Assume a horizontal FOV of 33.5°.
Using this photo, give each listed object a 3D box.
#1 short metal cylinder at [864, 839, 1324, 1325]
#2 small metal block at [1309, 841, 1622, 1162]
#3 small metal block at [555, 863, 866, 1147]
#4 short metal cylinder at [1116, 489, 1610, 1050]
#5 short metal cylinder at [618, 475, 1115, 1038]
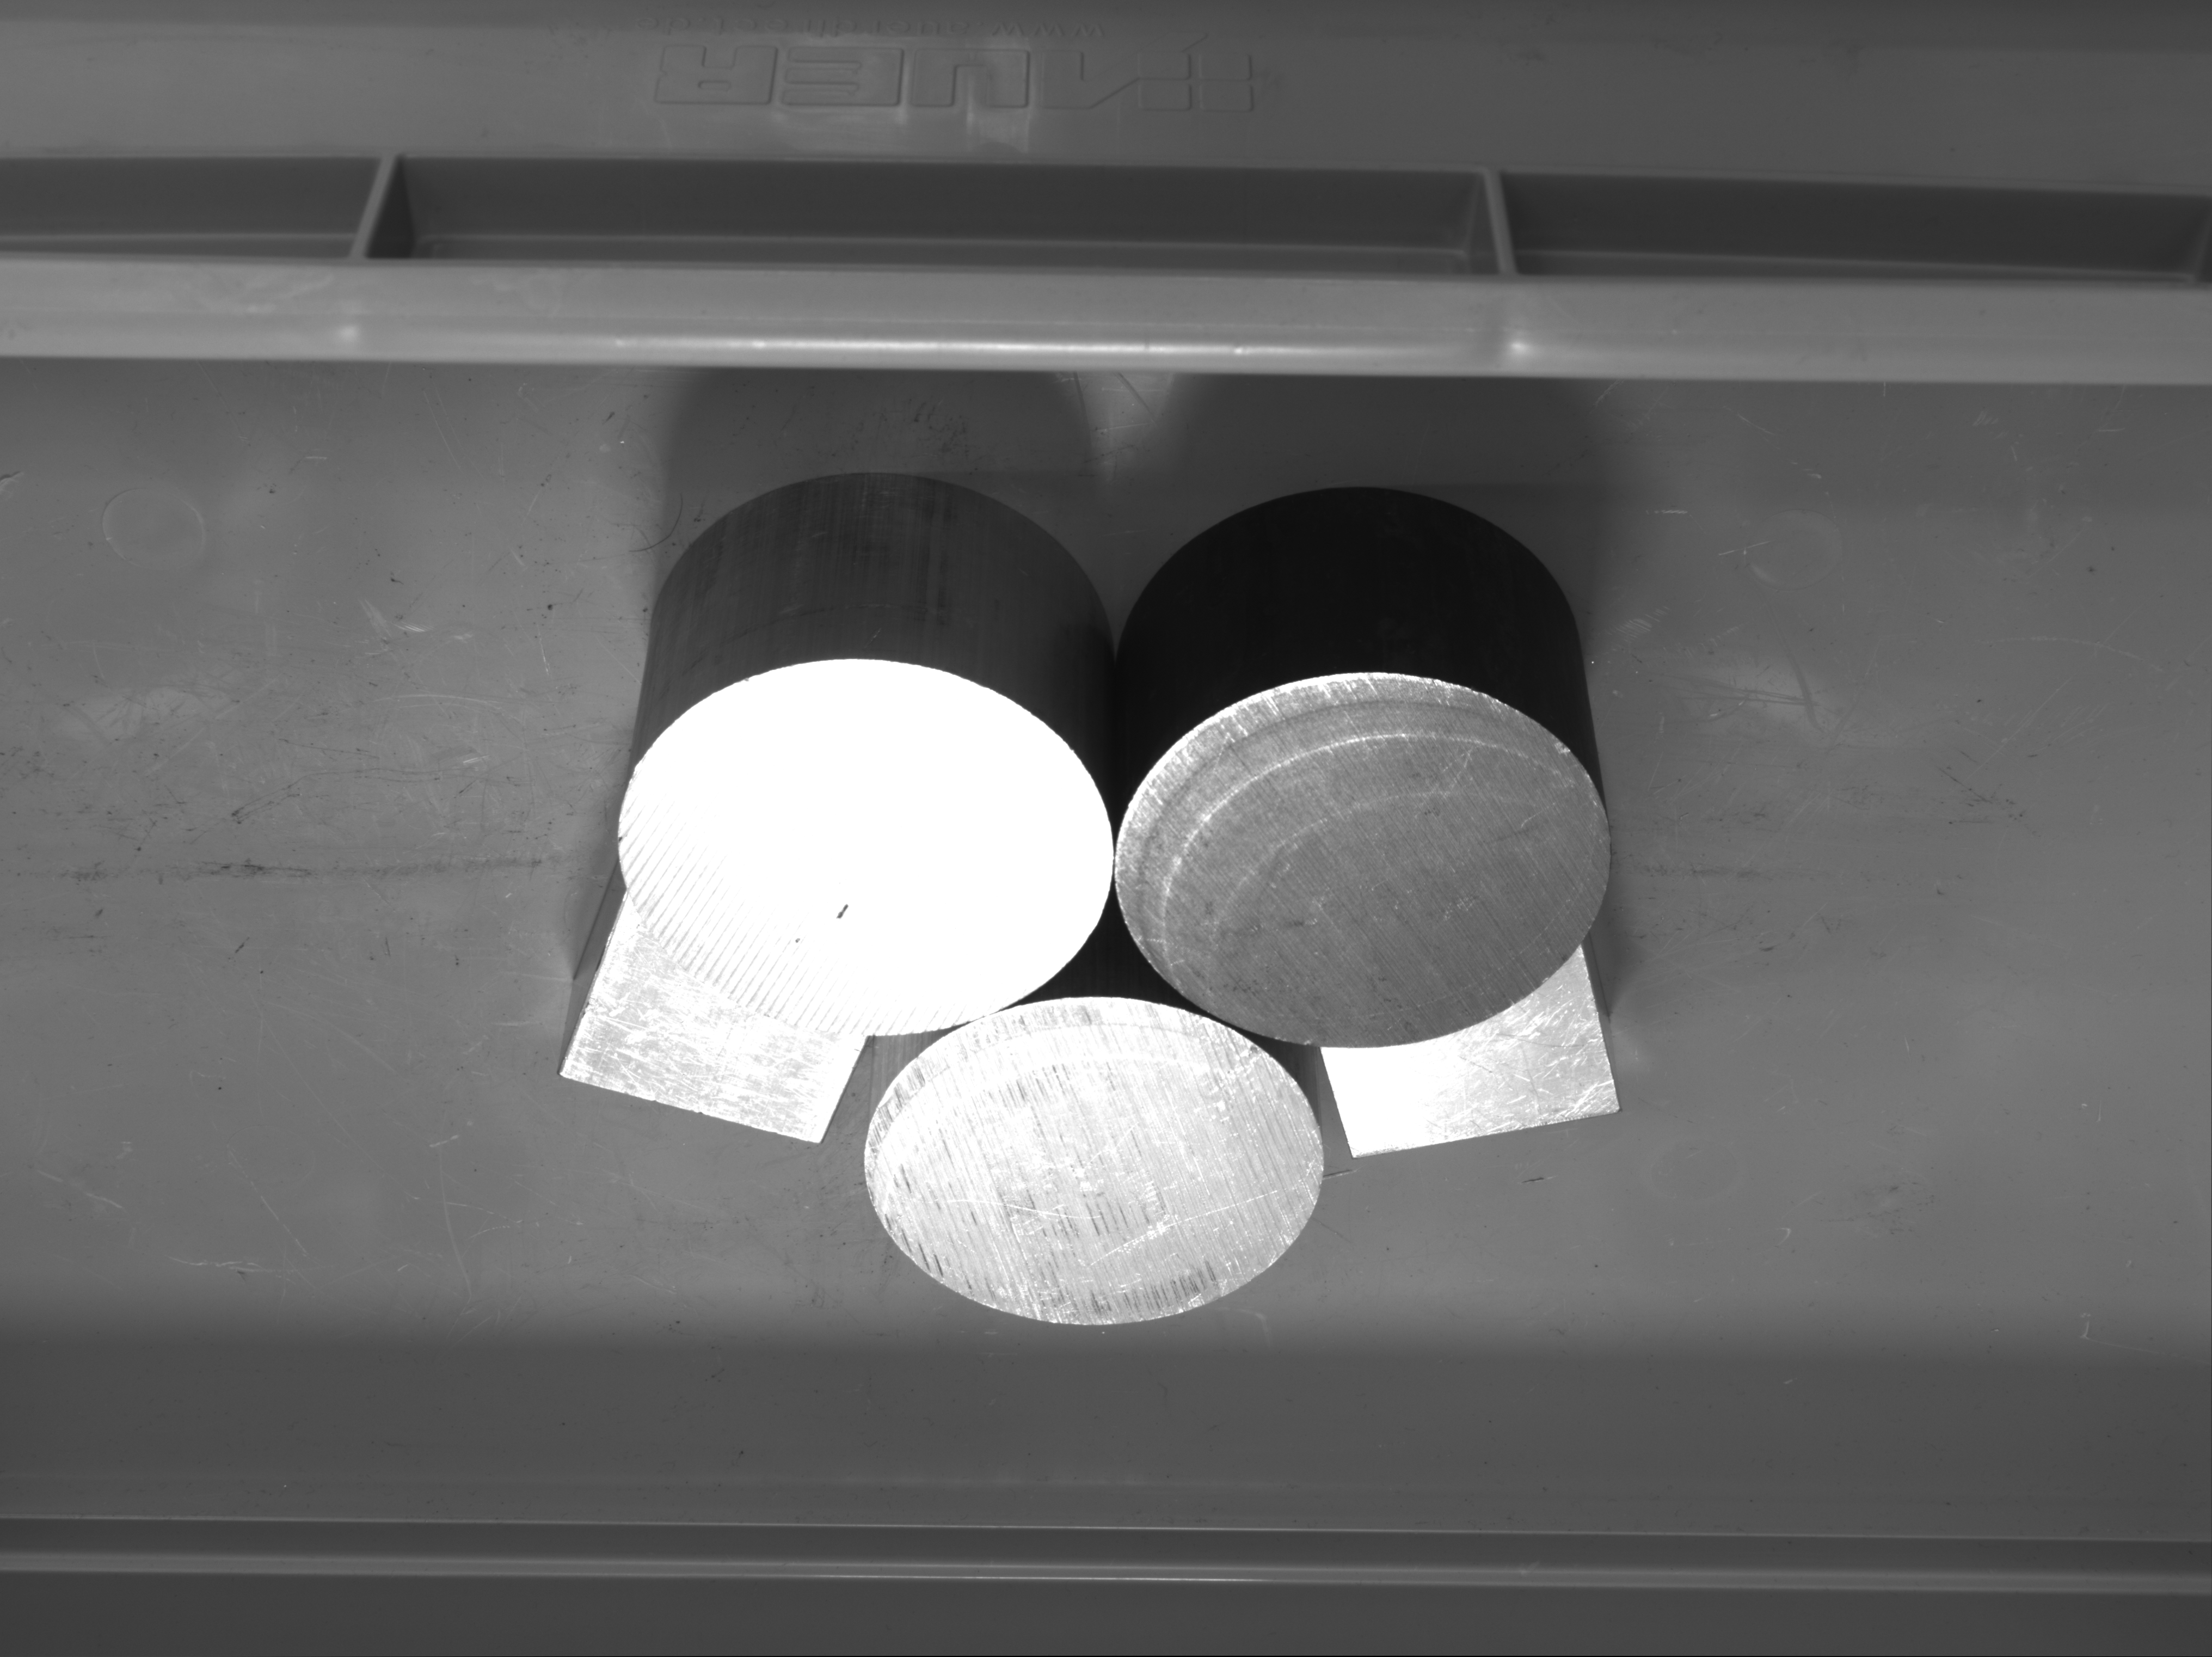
[{"bbox_3d":[-0.002,0.043,0.658,0.080,0.050,0.080,0,130,0],"label":"short metal cylinder"},{"bbox_3d":[0.063,0.030,0.664,0.050,0.025,0.050,-11,129,9],"label":"small metal block"},{"bbox_3d":[-0.067,0.025,0.659,0.050,0.025,0.050,16,128,-13],"label":"small metal block"},{"bbox_3d":[0.042,-0.009,0.614,0.080,0.050,0.080,0,130,0],"label":"short metal cylinder"},{"bbox_3d":[-0.039,-0.012,0.612,0.080,0.050,0.080,0,130,0],"label":"short metal cylinder"}]
